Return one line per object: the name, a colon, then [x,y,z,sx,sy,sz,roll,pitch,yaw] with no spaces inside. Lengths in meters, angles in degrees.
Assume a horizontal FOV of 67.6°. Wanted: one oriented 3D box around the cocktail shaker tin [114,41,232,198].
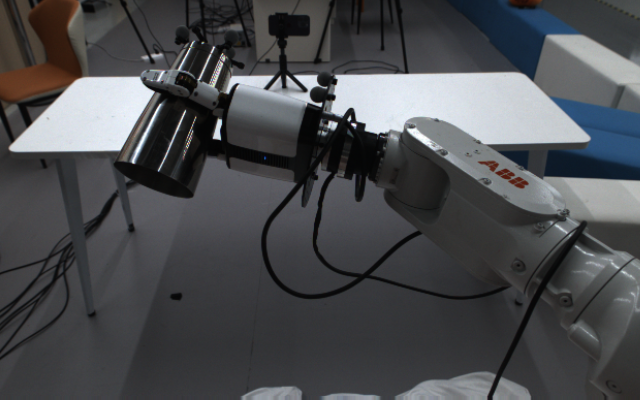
cocktail shaker tin: [-0.163,-0.098,0.570,0.093,0.093,0.170,12,71,14]
